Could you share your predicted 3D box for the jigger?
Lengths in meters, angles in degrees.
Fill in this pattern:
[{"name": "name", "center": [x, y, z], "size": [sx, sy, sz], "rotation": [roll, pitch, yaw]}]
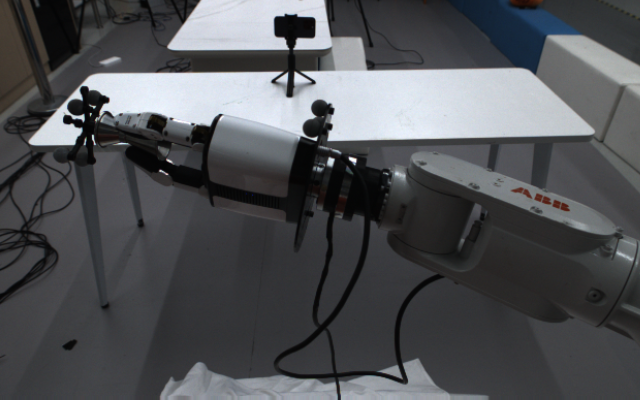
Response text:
[{"name": "jigger", "center": [-0.192, -0.071, 0.519], "size": [0.071, 0.043, 0.043], "rotation": [10, 35, 1]}]
